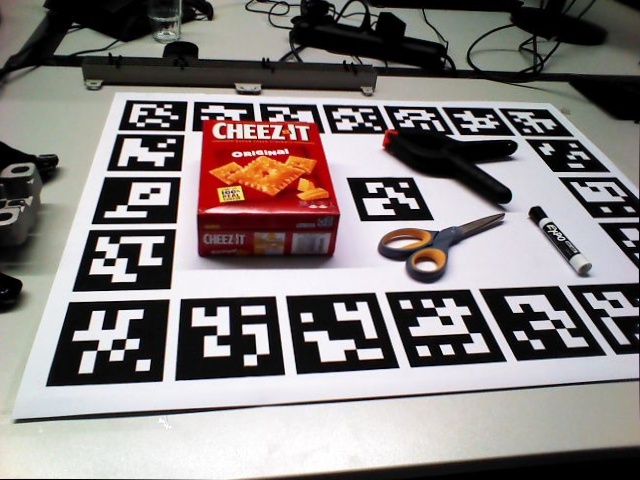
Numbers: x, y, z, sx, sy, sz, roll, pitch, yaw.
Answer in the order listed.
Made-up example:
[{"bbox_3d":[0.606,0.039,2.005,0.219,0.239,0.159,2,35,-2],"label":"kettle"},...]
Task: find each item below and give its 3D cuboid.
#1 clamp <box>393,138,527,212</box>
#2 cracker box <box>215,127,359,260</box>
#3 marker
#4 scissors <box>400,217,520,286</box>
[{"bbox_3d":[0.213,-0.119,0.805,0.203,0.037,0.164,19,40,13],"label":"clamp"},{"bbox_3d":[-0.049,-0.068,0.662,0.164,0.072,0.212,0,41,-8],"label":"cracker box"},{"bbox_3d":[0.331,-0.001,0.673,0.019,0.020,0.120,-4,41,-12],"label":"marker"},{"bbox_3d":[0.190,-0.001,0.655,0.201,0.016,0.088,-21,46,-32],"label":"scissors"}]
